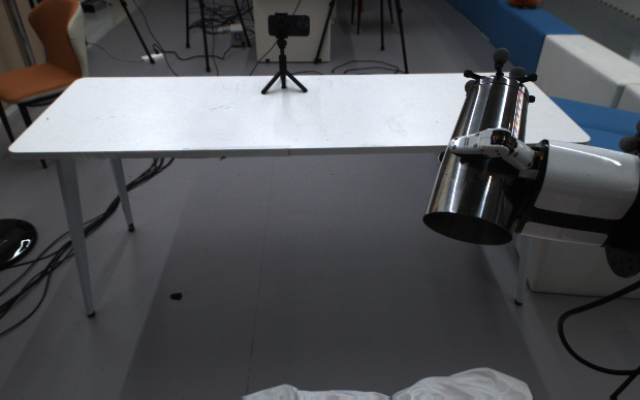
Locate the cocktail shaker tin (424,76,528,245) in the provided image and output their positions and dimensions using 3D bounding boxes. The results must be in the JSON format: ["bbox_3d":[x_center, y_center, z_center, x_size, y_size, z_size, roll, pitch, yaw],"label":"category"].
[{"bbox_3d":[0.180,-0.045,0.530,0.093,0.093,0.170,13,73,16],"label":"cocktail shaker tin"}]
